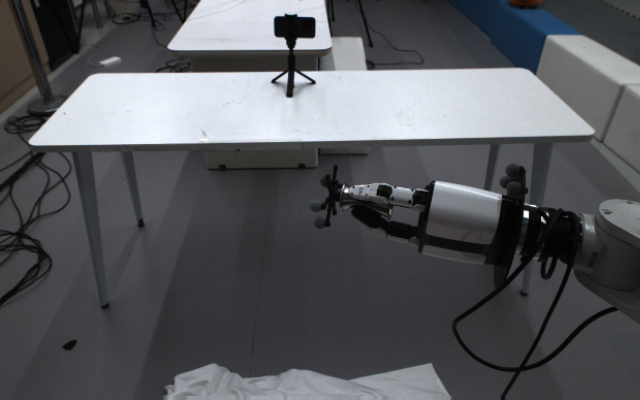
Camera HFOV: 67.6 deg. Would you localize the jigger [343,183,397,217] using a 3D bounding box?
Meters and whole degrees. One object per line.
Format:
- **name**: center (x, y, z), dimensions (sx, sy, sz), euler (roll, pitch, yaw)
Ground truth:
- **jigger**: center (0.071, -0.004, 0.661), dimensions (0.071, 0.043, 0.043), euler (8, 35, 16)
